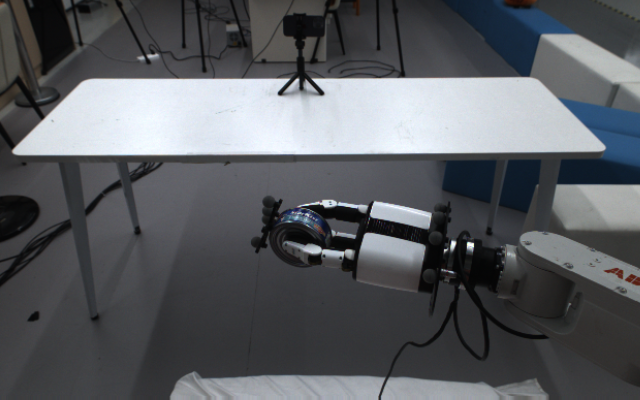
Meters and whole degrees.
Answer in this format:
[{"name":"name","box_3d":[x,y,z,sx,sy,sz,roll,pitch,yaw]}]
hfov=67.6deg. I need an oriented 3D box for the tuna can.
[{"name":"tuna can","box_3d":[-0.025,0.058,0.683,0.085,0.085,0.034,9,35,10]}]
